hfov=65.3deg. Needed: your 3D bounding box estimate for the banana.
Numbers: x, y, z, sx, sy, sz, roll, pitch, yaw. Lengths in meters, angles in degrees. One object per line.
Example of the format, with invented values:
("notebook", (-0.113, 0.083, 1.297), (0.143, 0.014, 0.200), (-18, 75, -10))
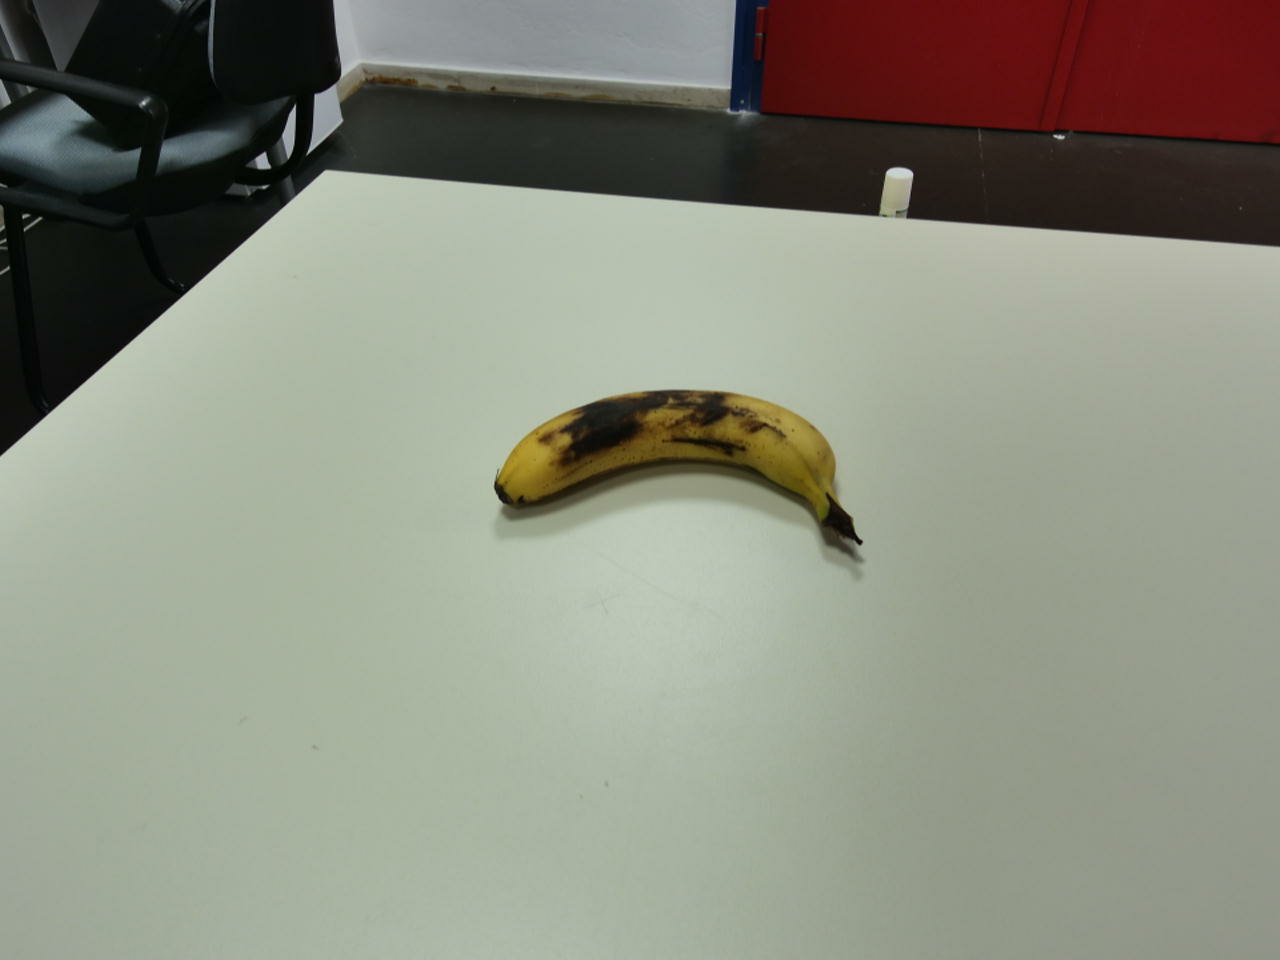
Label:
("banana", (0.022, -0.014, 0.531), (0.187, 0.039, 0.094), (7, 39, 9))
